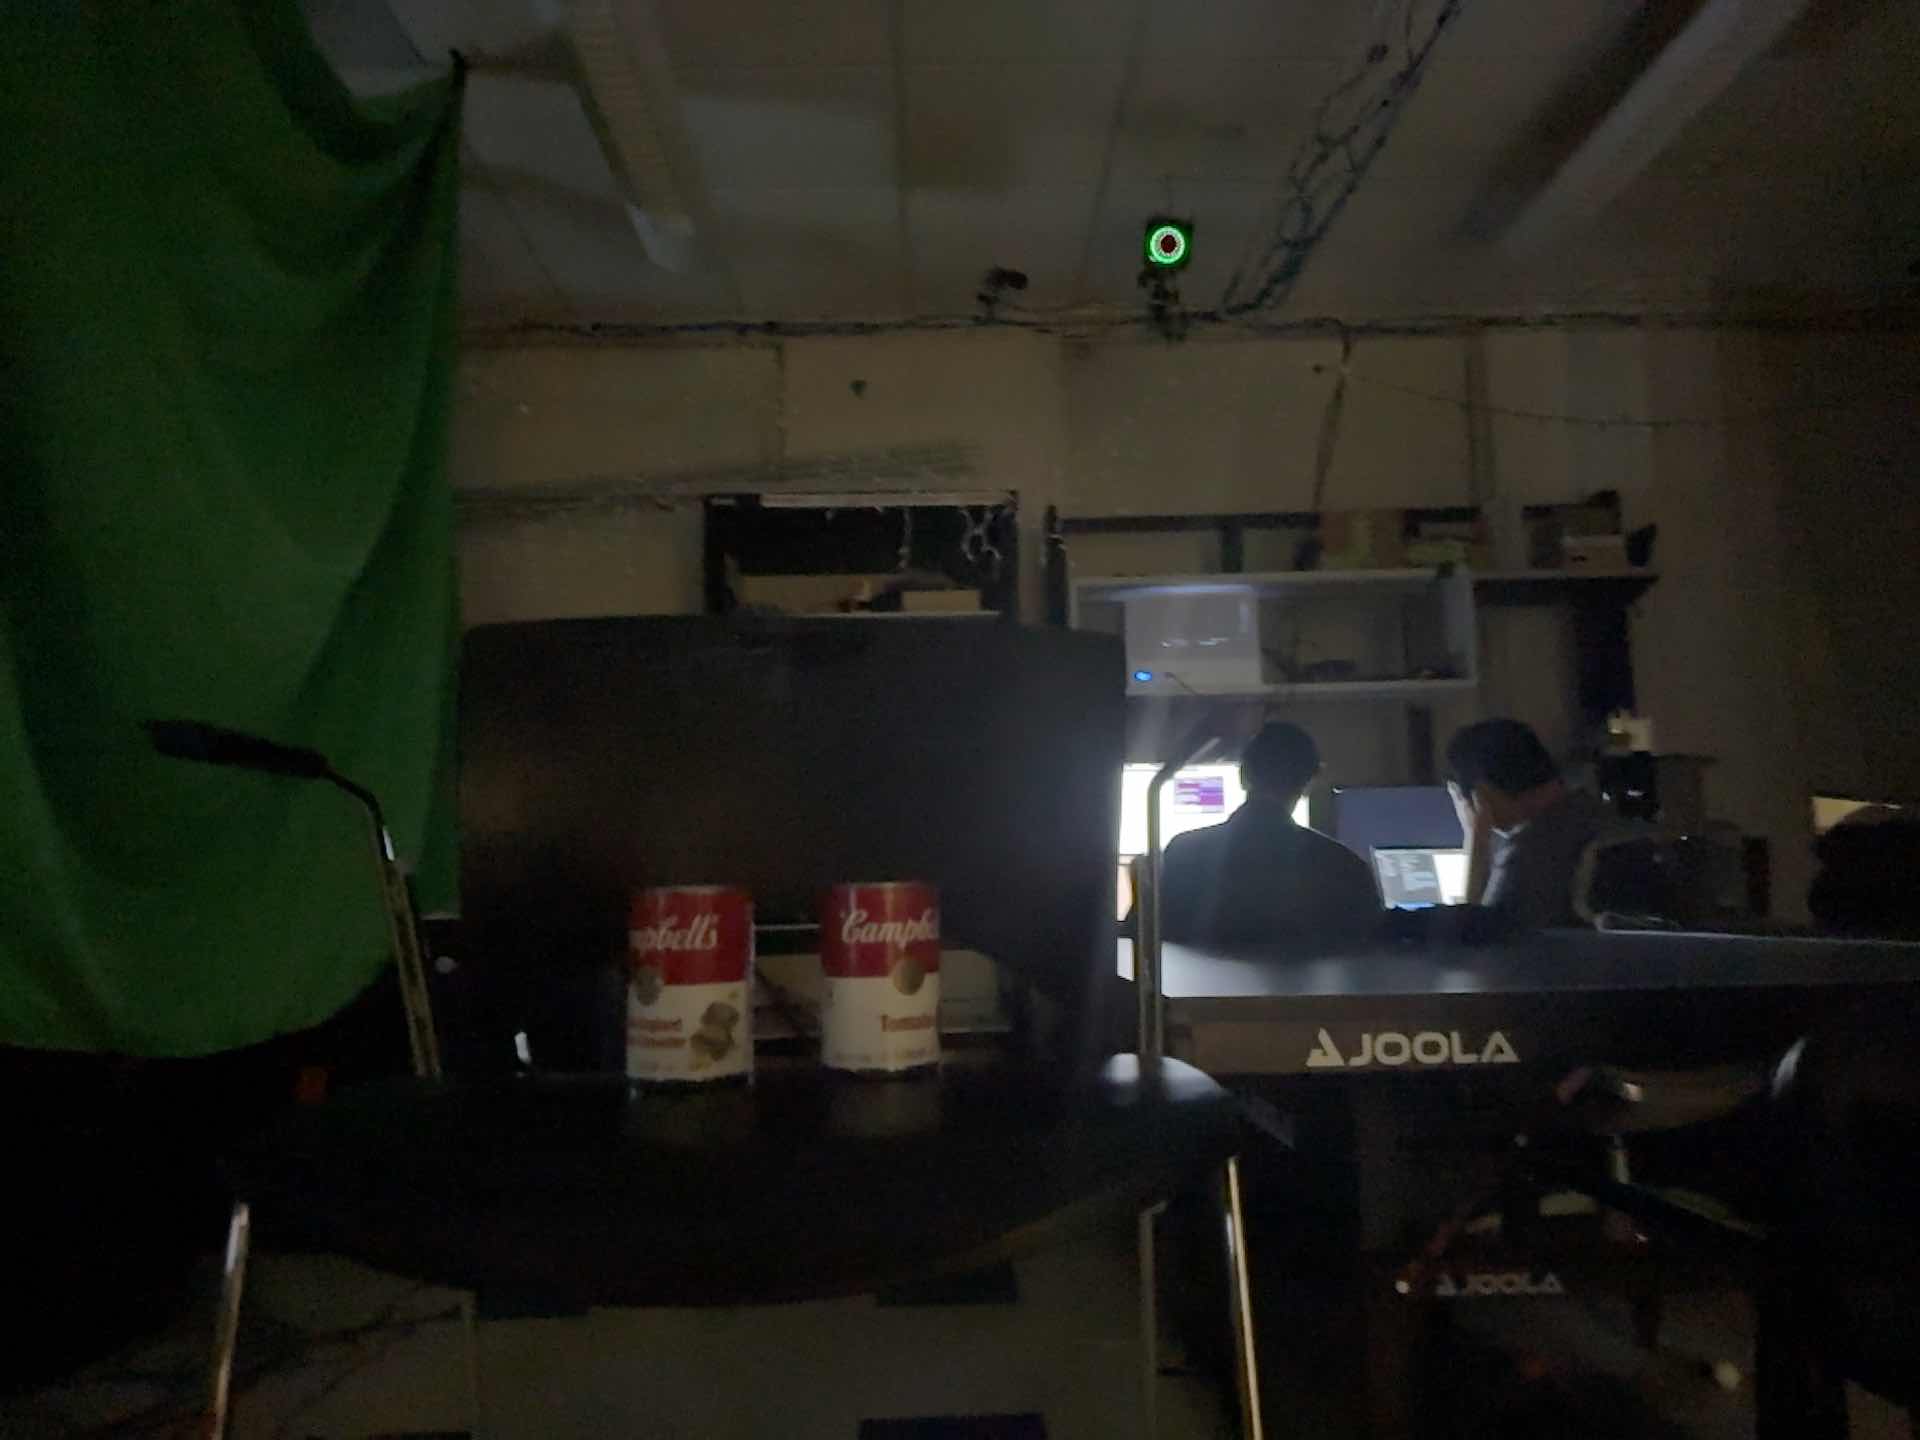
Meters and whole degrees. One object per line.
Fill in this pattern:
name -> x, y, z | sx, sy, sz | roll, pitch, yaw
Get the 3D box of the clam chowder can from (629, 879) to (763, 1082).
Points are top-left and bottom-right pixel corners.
clam chowder can -> -0.142, 0.137, 0.724 | 0.068, 0.102, 0.068 | 1, -5, 0

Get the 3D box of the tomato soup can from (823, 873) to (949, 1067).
tomato soup can -> -0.041, 0.134, 0.736 | 0.067, 0.102, 0.067 | 1, -6, 0
